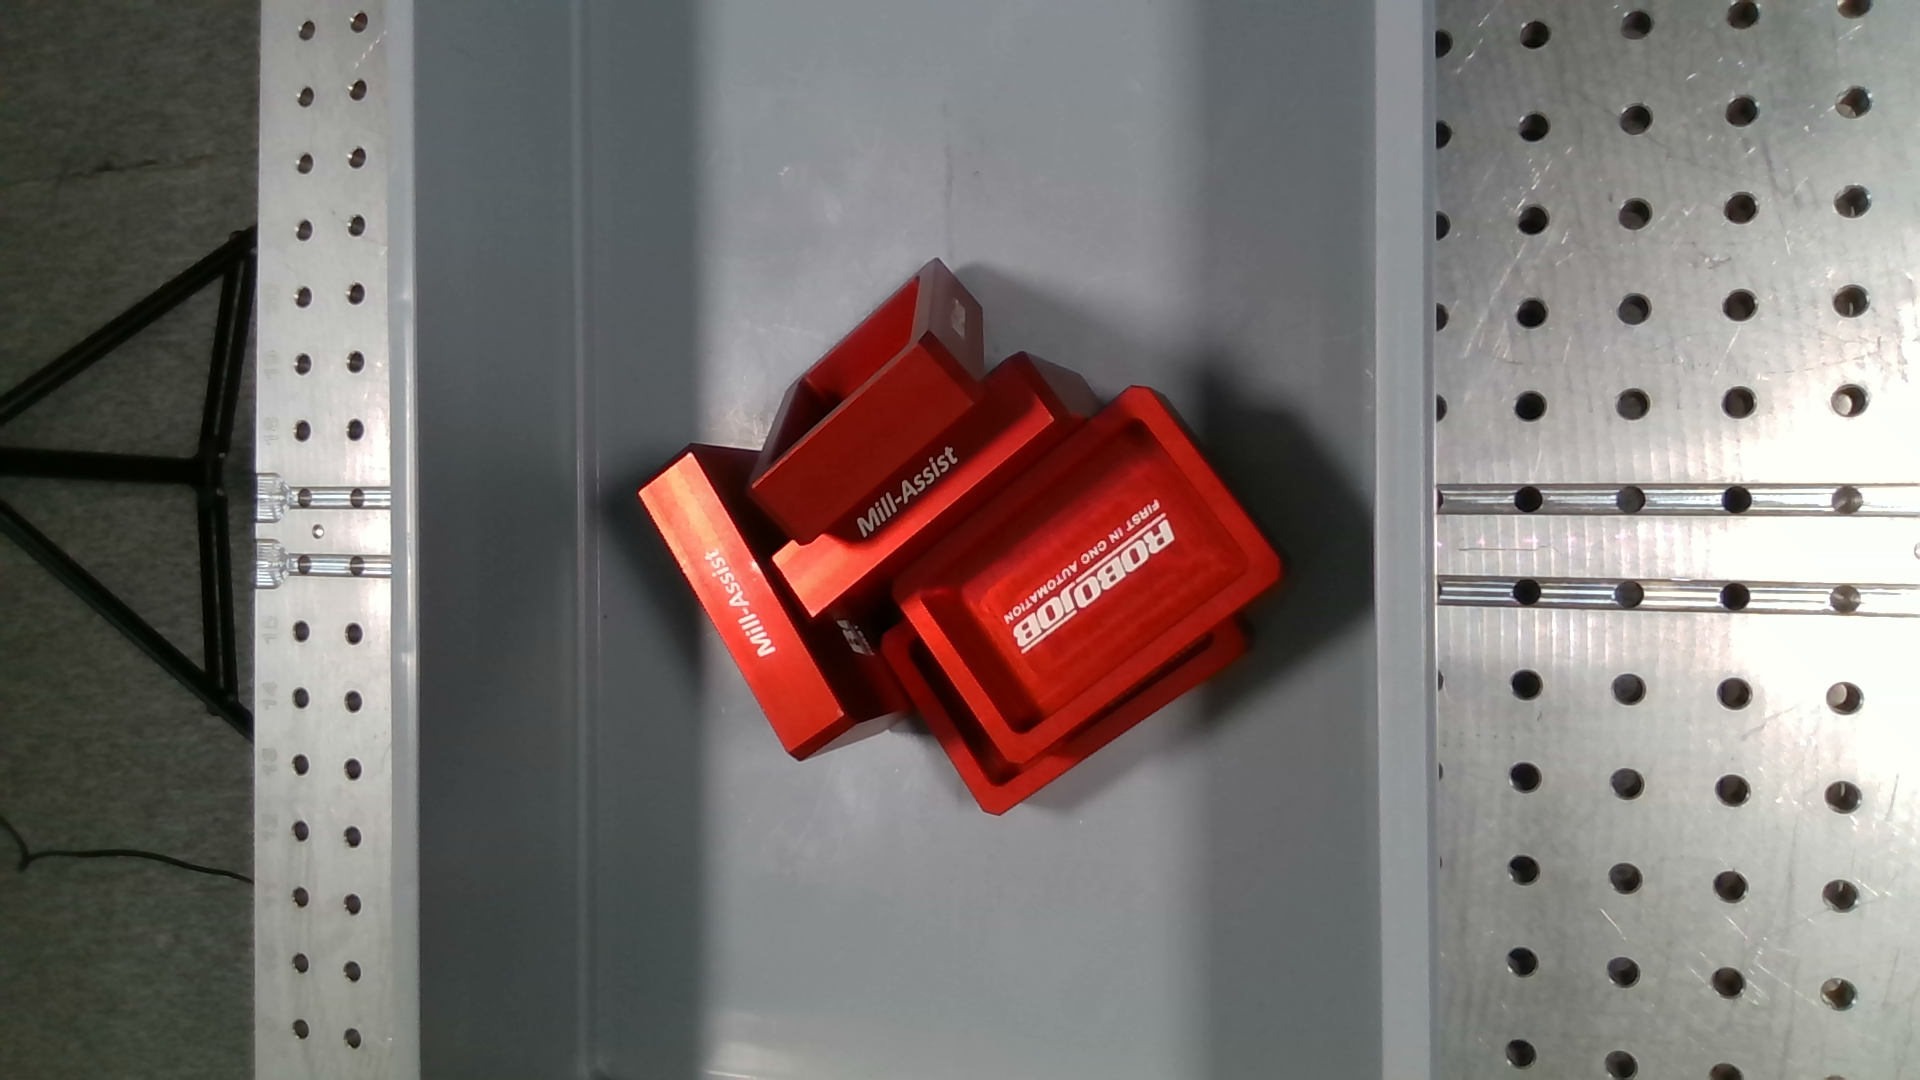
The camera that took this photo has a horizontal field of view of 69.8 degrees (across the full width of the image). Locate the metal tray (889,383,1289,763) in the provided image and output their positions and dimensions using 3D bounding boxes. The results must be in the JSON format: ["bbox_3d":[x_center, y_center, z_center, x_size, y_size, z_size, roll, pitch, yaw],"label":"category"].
[{"bbox_3d":[0.048,0.014,0.532,0.130,0.030,0.090,-38,78,16],"label":"metal tray"}]

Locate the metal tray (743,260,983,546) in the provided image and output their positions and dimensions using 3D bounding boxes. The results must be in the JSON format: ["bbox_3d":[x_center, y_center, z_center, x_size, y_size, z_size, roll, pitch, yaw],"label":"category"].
[{"bbox_3d":[-0.034,-0.059,0.542,0.090,0.130,0.030,-39,108,16],"label":"metal tray"}]

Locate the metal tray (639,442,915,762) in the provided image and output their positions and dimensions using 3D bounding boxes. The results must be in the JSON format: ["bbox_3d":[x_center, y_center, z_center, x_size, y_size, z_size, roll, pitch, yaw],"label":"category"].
[{"bbox_3d":[-0.071,0.023,0.576,0.030,0.090,0.130,-34,79,17],"label":"metal tray"}]

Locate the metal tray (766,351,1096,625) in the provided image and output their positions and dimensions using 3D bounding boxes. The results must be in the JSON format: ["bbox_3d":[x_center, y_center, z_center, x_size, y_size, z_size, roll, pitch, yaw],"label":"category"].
[{"bbox_3d":[-0.005,-0.018,0.550,0.130,0.090,0.030,-39,78,16],"label":"metal tray"}]

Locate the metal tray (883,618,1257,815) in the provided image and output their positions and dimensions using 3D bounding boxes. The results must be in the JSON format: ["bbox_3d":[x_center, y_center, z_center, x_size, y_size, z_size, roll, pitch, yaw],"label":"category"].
[{"bbox_3d":[0.044,0.042,0.567,0.130,0.030,0.090,-36,77,16],"label":"metal tray"}]
